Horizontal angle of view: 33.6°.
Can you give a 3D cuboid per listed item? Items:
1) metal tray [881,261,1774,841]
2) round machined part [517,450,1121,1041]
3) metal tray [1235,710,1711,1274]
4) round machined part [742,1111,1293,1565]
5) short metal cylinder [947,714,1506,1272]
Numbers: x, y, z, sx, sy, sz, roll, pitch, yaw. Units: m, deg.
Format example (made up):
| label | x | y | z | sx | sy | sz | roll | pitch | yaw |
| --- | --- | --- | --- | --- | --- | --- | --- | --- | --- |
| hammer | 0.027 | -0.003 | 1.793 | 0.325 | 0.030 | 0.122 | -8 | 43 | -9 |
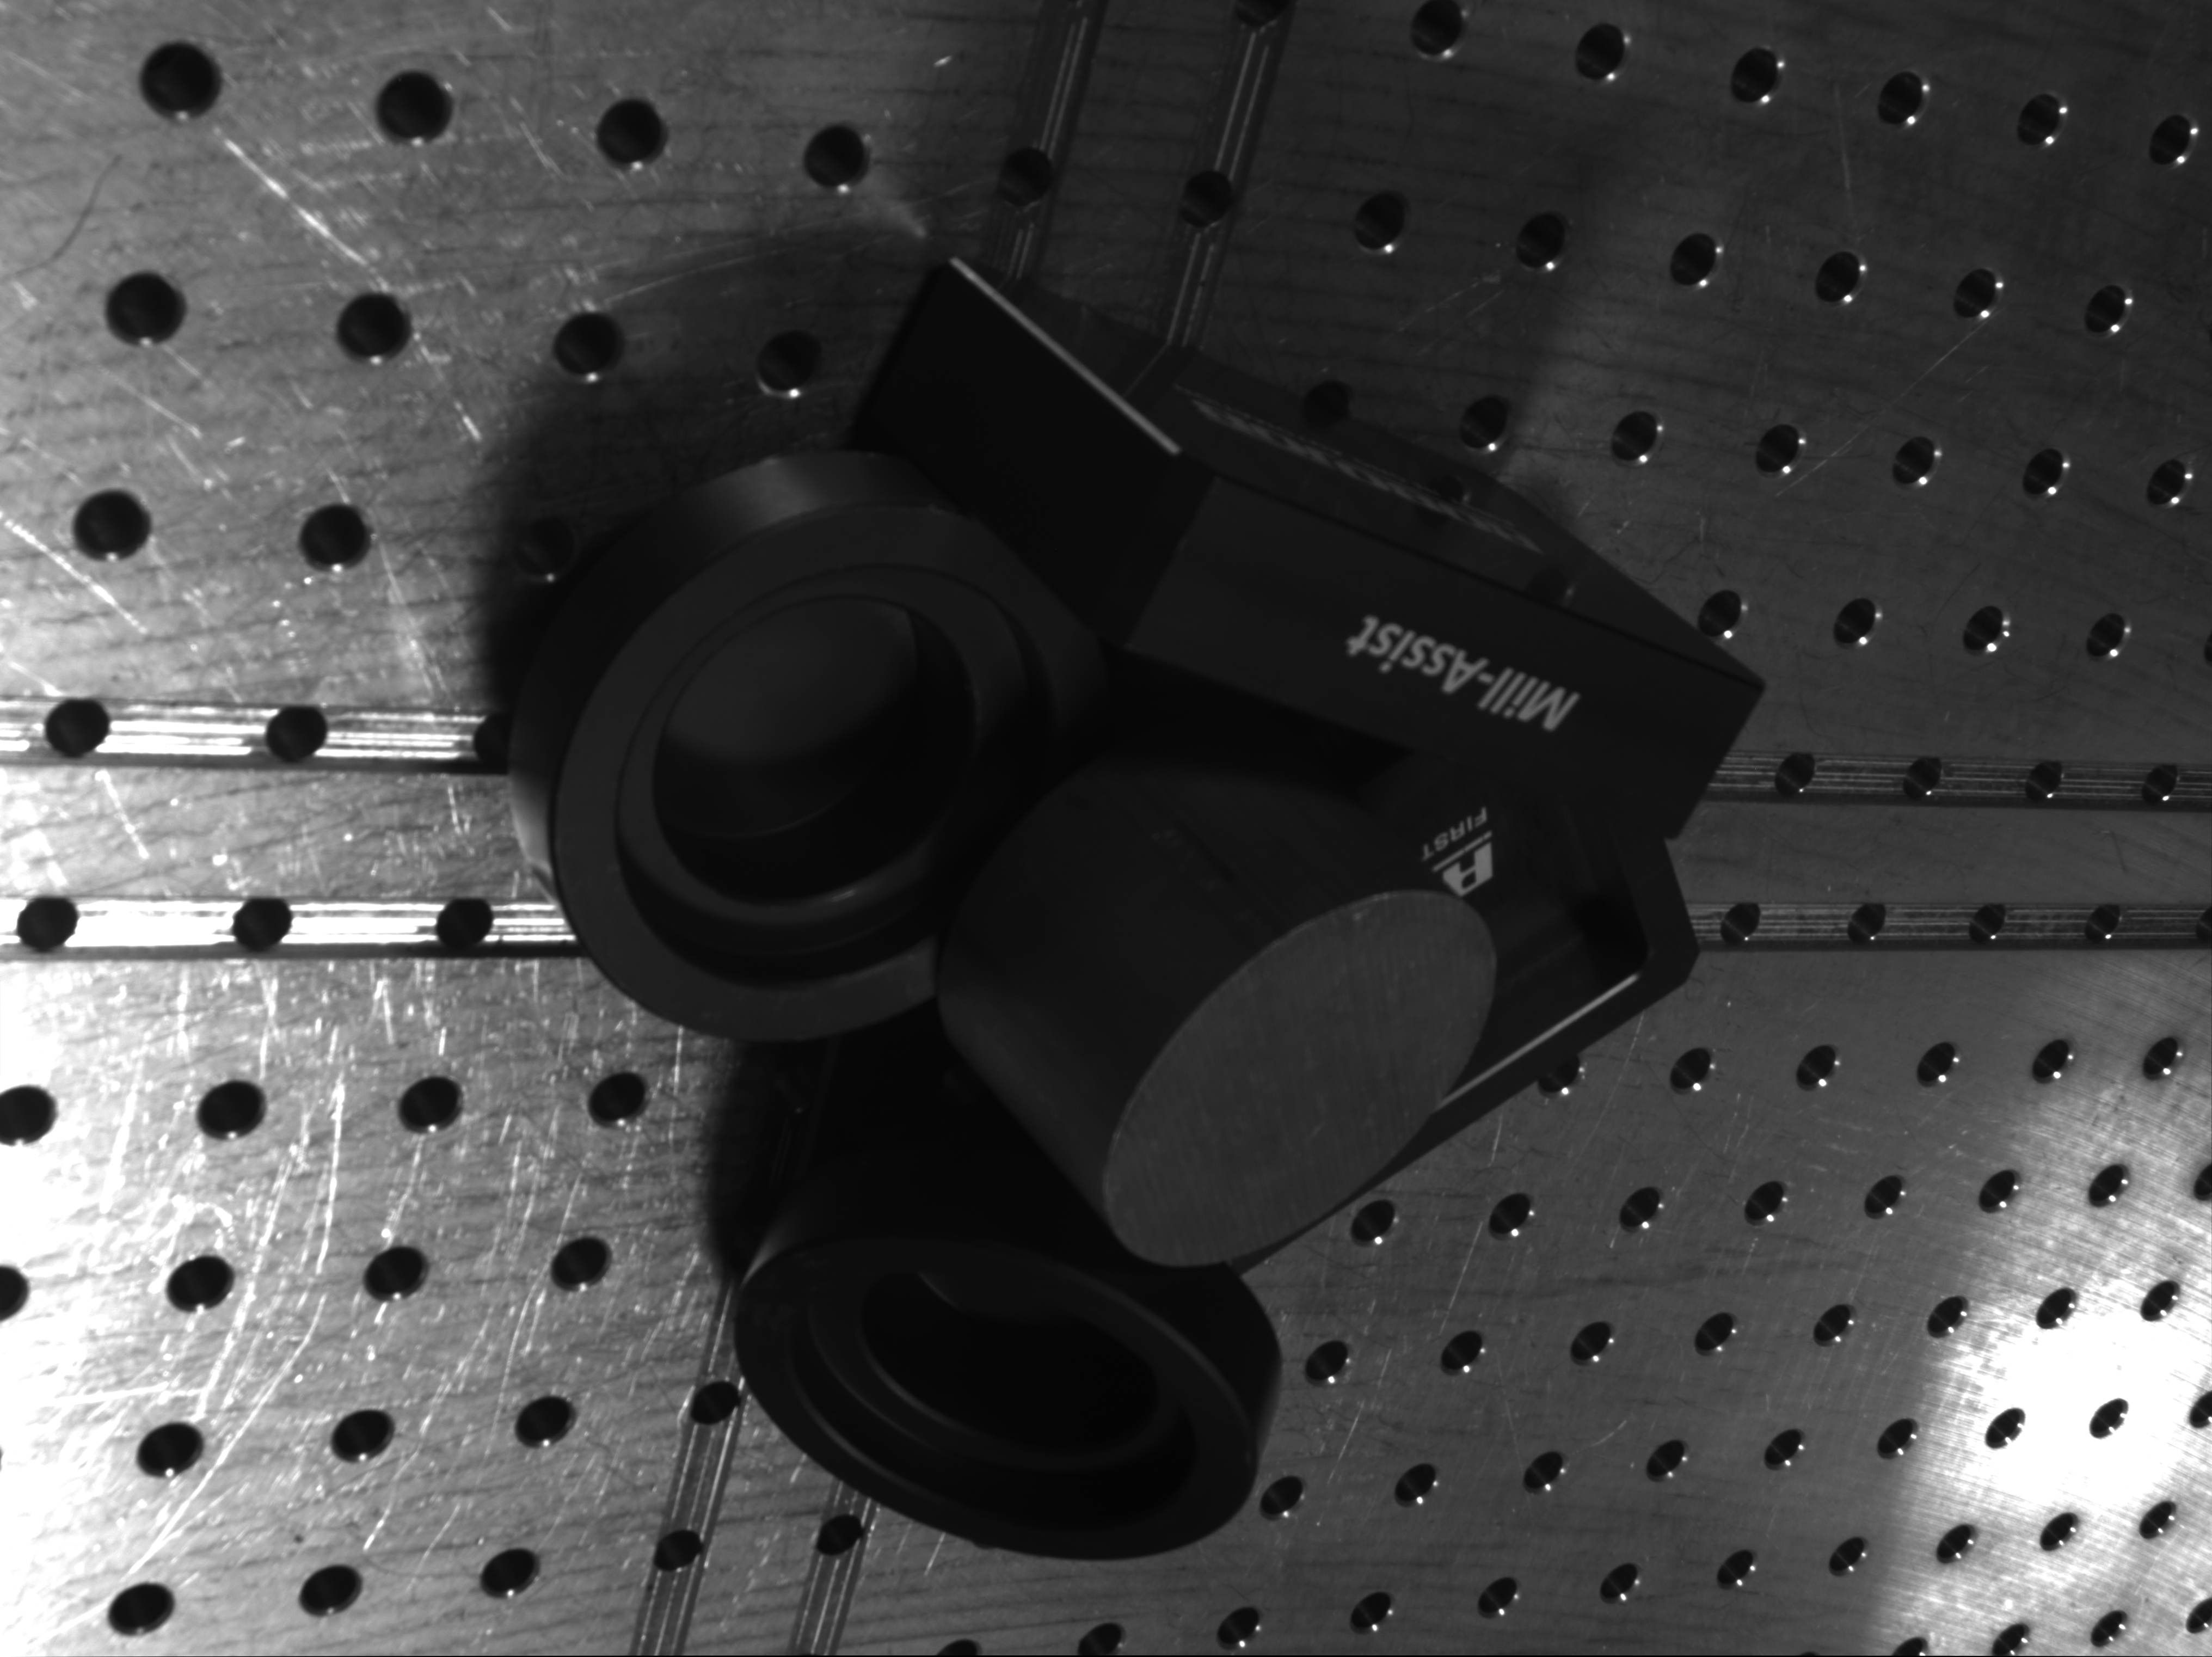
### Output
| label | x | y | z | sx | sy | sz | roll | pitch | yaw |
| --- | --- | --- | --- | --- | --- | --- | --- | --- | --- |
| metal tray | 0.037 | -0.045 | 0.605 | 0.130 | 0.090 | 0.030 | 17 | 109 | -36 |
| round machined part | -0.050 | -0.017 | 0.603 | 0.098 | 0.042 | 0.098 | -15 | 125 | -22 |
| metal tray | 0.045 | 0.024 | 0.691 | 0.130 | 0.030 | 0.090 | -32 | 129 | -9 |
| round machined part | -0.013 | 0.089 | 0.667 | 0.098 | 0.042 | 0.098 | 11 | 138 | 10 |
| short metal cylinder | 0.020 | 0.028 | 0.618 | 0.080 | 0.050 | 0.080 | -27 | 141 | -23 |
